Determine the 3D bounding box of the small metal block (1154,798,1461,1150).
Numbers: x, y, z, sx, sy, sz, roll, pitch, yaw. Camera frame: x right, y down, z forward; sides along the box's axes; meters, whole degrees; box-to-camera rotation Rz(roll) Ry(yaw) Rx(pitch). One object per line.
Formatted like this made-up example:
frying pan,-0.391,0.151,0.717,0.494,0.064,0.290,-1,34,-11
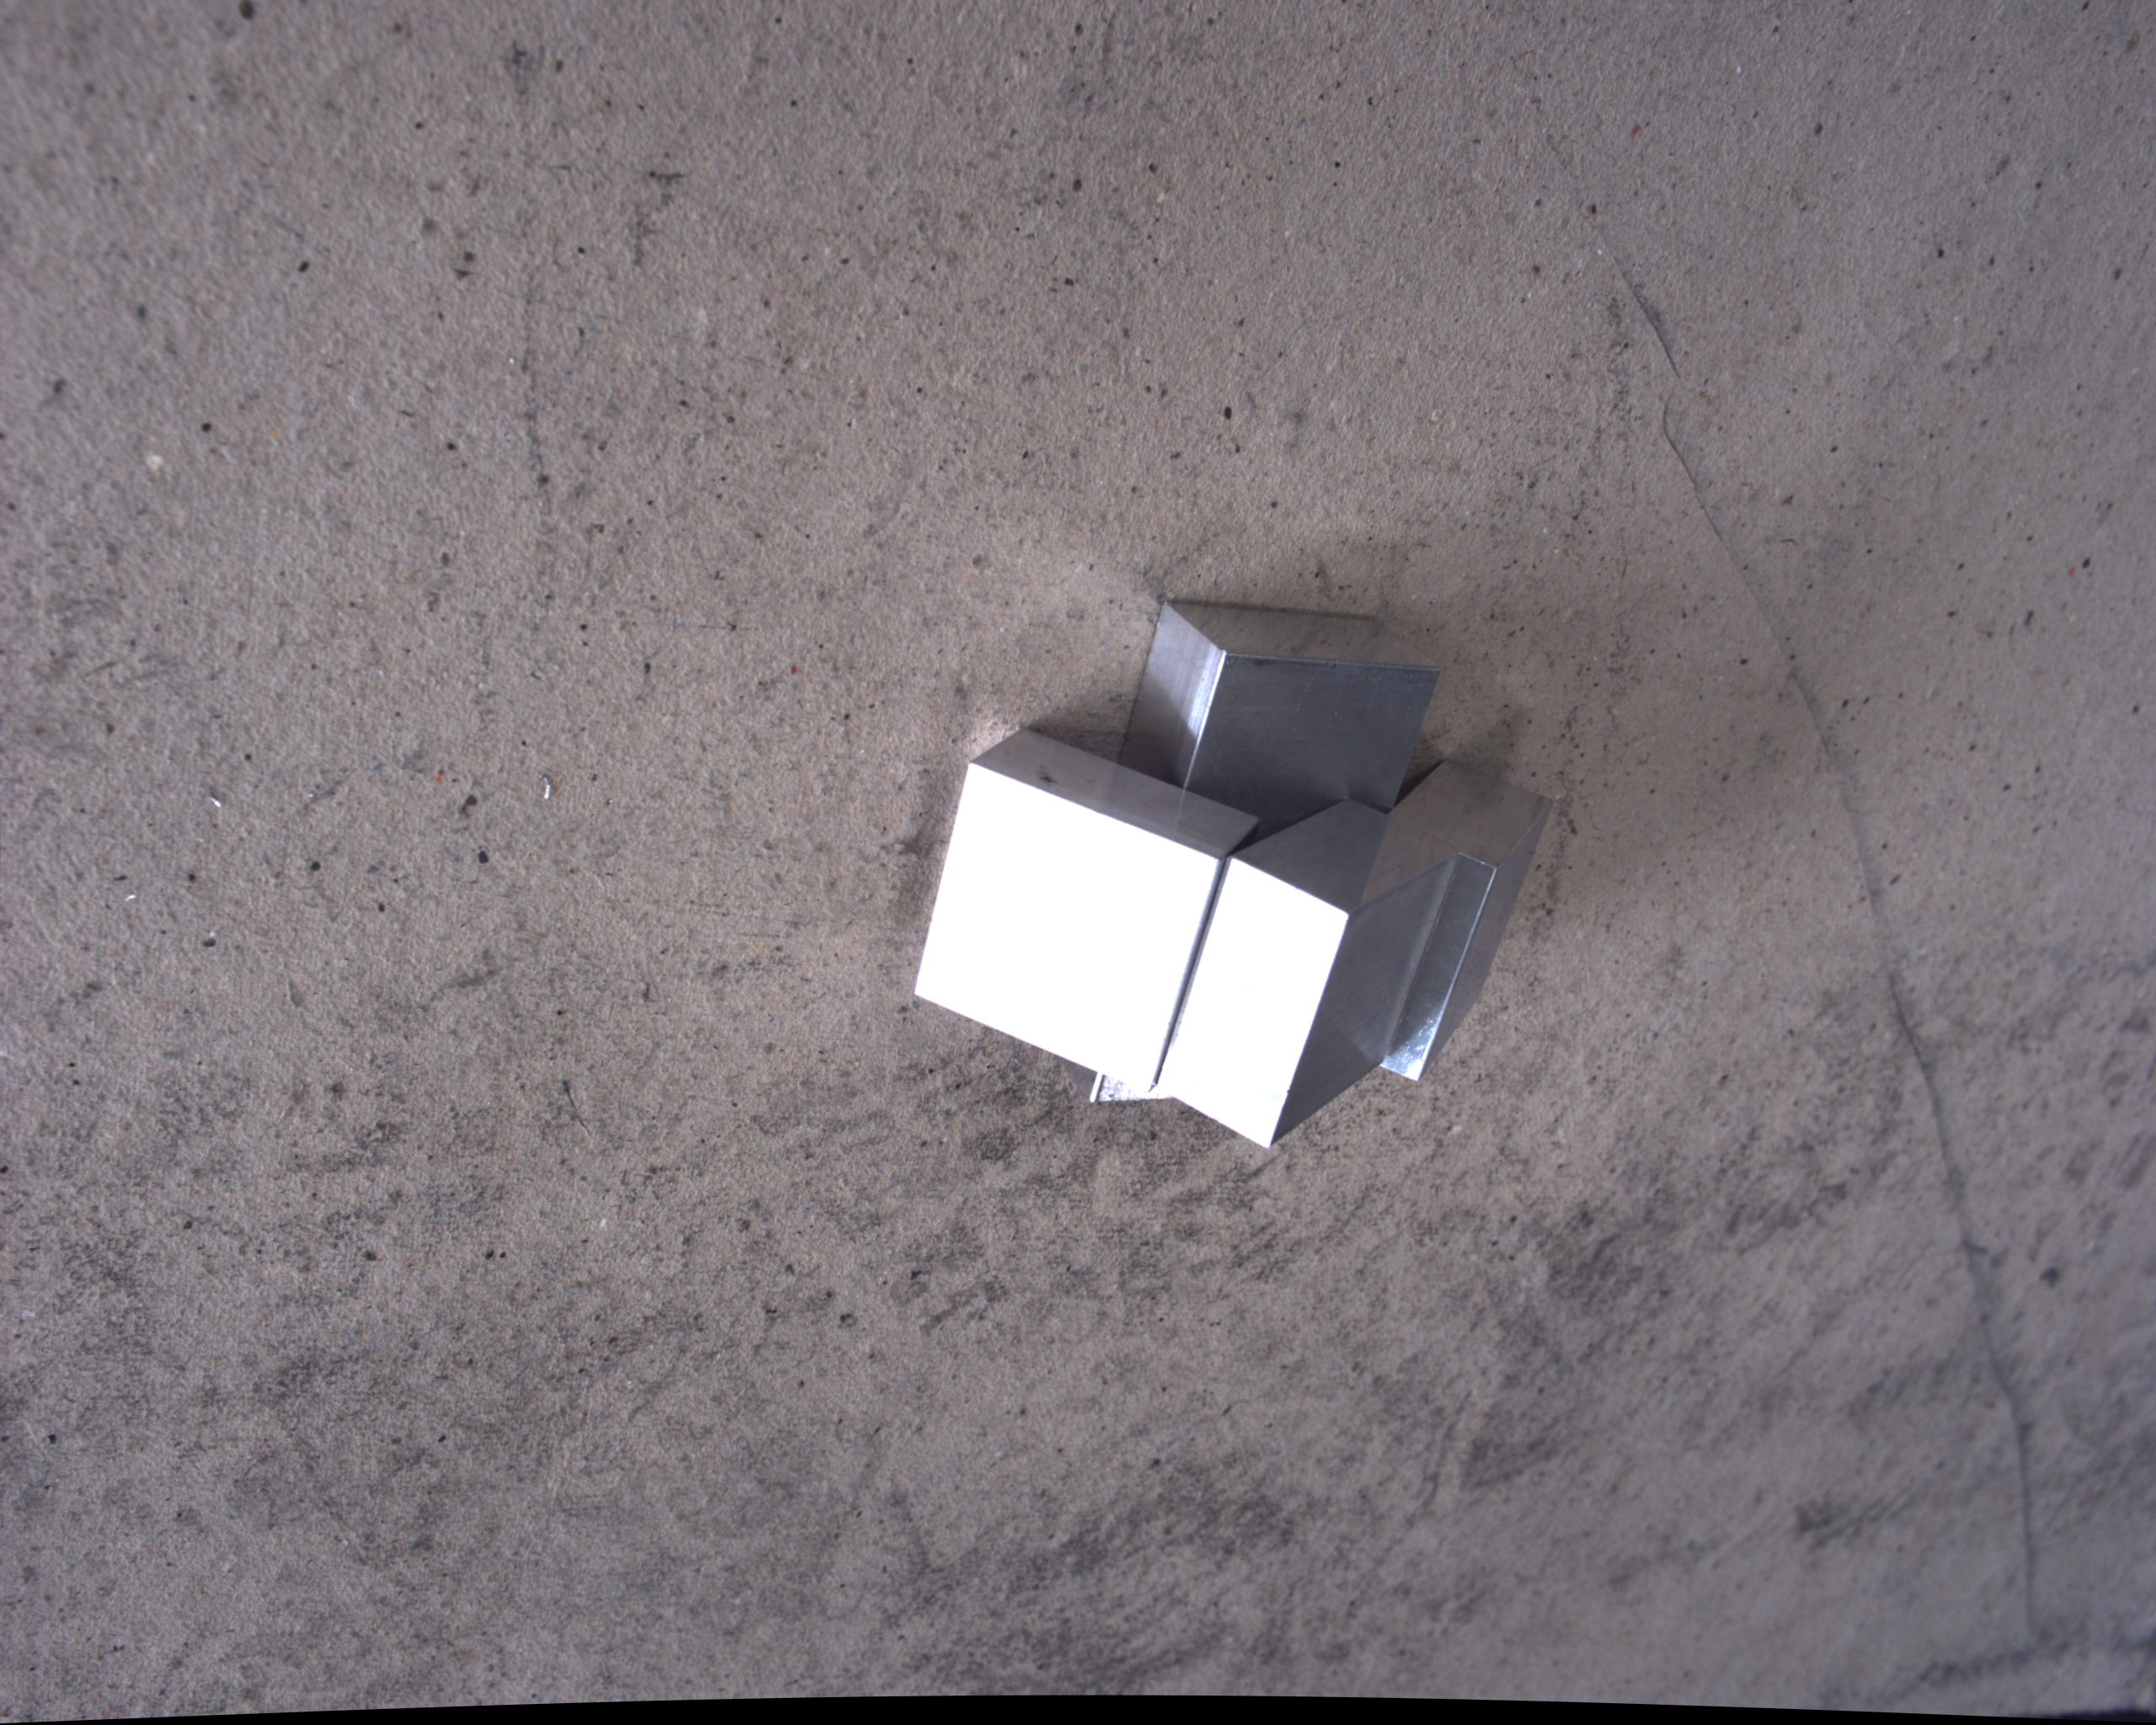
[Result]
small metal block,0.044,0.020,0.398,0.050,0.025,0.050,-23,135,-54

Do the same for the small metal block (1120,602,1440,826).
small metal block,0.037,-0.022,0.415,0.050,0.025,0.050,1,118,-29

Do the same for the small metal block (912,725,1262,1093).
small metal block,0.001,0.008,0.396,0.025,0.050,0.050,-40,149,-61

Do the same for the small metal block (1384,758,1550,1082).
small metal block,0.074,0.011,0.439,0.050,0.025,0.050,-36,146,-60

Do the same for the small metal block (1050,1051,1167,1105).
small metal block,0.025,0.022,0.435,0.050,0.025,0.050,1,118,-29
